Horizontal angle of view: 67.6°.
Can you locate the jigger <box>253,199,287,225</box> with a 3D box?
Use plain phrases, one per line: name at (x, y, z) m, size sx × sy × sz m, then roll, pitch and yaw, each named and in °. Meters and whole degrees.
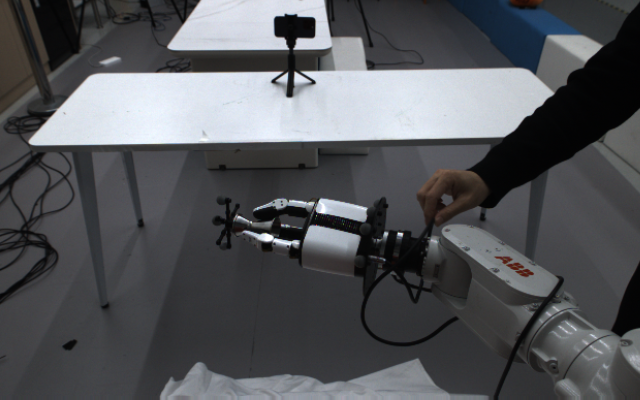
jigger at (-0.097, 0.042, 0.789) m, size 0.071 × 0.043 × 0.043 m, roll 6°, pitch 35°, yaw 16°
